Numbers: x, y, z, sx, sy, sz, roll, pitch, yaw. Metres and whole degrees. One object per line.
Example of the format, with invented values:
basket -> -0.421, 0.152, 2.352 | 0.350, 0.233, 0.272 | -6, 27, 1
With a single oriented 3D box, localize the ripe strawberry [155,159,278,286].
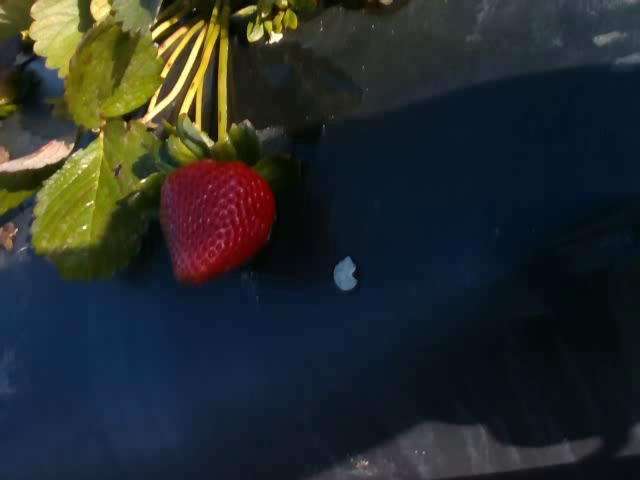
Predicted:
ripe strawberry -> -0.034, -0.003, 0.170 | 0.045, 0.042, 0.055 | -10, 37, 12
